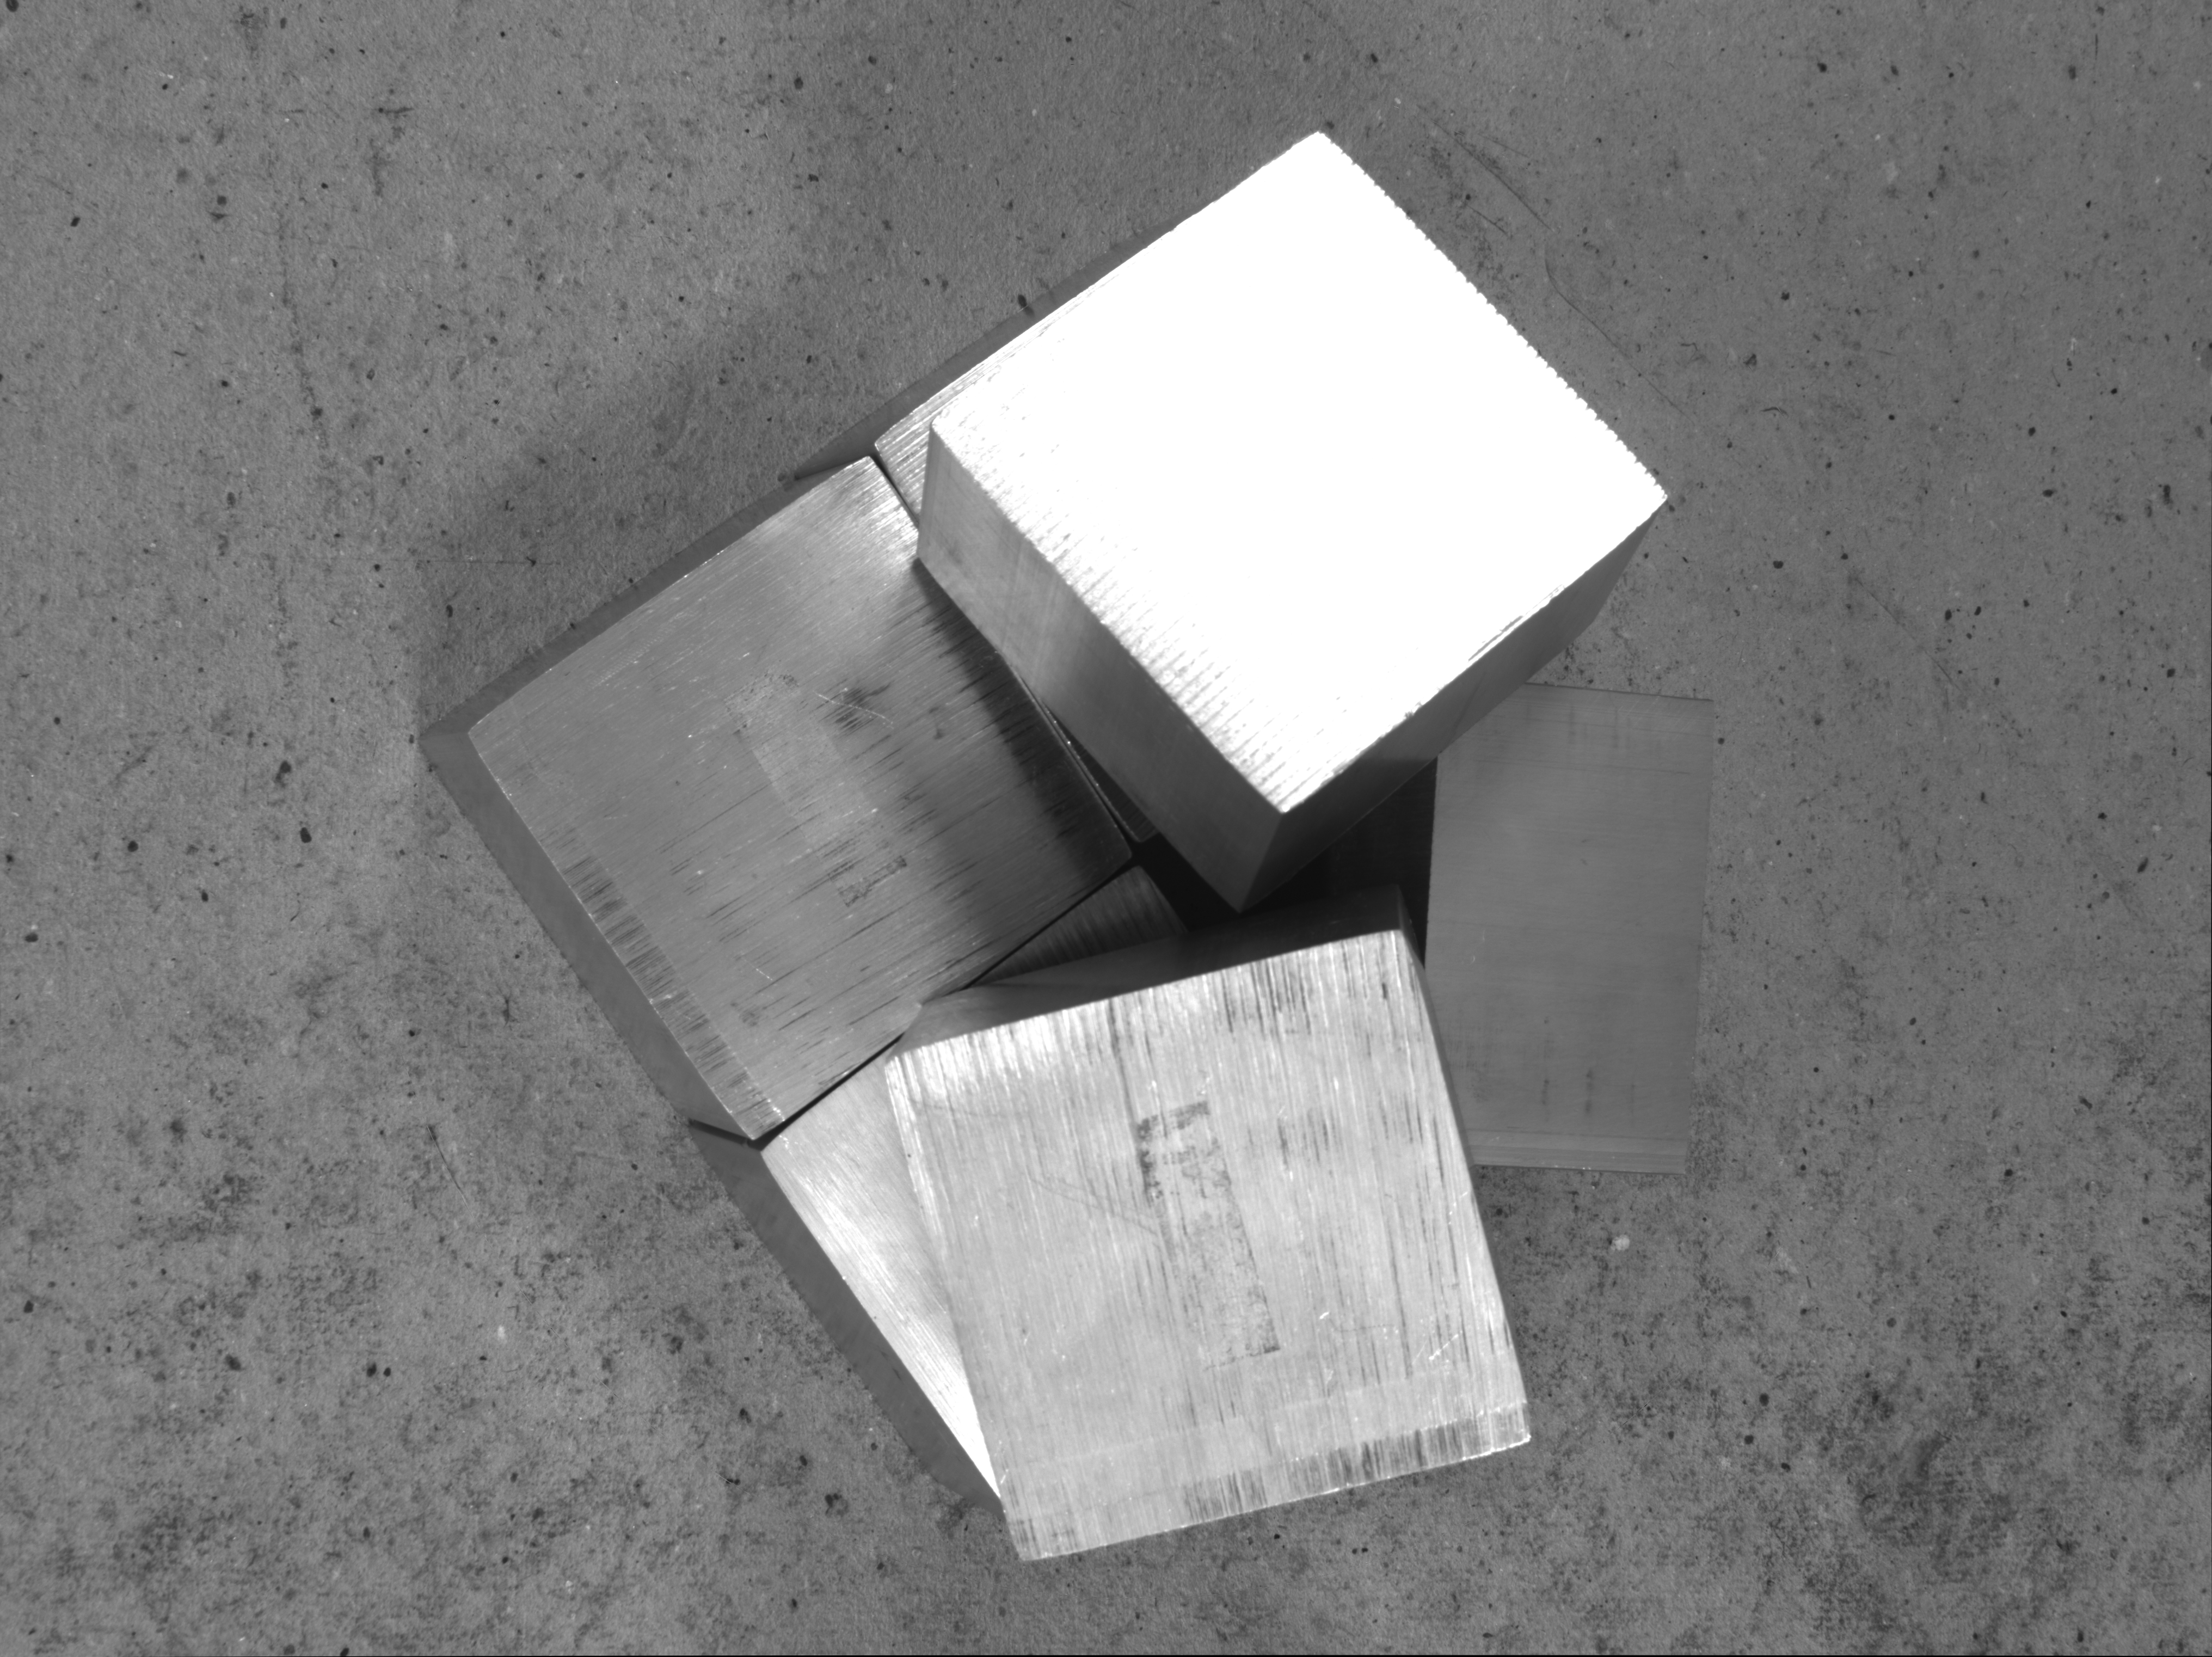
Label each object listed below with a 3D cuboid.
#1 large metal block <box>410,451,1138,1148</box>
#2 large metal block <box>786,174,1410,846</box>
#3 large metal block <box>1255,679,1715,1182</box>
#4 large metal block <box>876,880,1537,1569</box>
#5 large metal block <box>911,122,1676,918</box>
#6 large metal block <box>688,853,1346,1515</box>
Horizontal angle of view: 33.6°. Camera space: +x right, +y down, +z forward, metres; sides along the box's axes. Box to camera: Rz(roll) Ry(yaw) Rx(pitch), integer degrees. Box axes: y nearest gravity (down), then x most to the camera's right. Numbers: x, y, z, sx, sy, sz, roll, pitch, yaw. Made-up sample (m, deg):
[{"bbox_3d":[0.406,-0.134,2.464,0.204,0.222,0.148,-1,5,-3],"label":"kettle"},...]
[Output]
[{"bbox_3d":[-0.056,-0.005,0.610,0.080,0.050,0.080,-37,102,-16],"label":"large metal block"},{"bbox_3d":[0.006,-0.053,0.630,0.080,0.050,0.080,-37,102,-17],"label":"large metal block"},{"bbox_3d":[0.062,0.017,0.637,0.050,0.080,0.080,4,89,-19],"label":"large metal block"},{"bbox_3d":[0.017,0.060,0.567,0.080,0.050,0.080,-15,96,5],"label":"large metal block"},{"bbox_3d":[0.027,-0.047,0.570,0.080,0.050,0.080,-39,79,-16],"label":"large metal block"},{"bbox_3d":[-0.012,0.060,0.627,0.080,0.050,0.080,-37,102,-16],"label":"large metal block"}]
